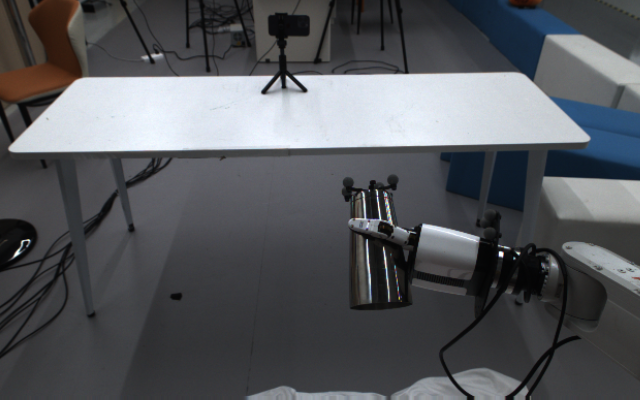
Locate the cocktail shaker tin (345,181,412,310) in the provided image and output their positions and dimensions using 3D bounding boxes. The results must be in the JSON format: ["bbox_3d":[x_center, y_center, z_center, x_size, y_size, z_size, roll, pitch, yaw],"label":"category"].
[{"bbox_3d":[0.083,0.074,0.728,0.093,0.093,0.170,-2,70,-5],"label":"cocktail shaker tin"}]
